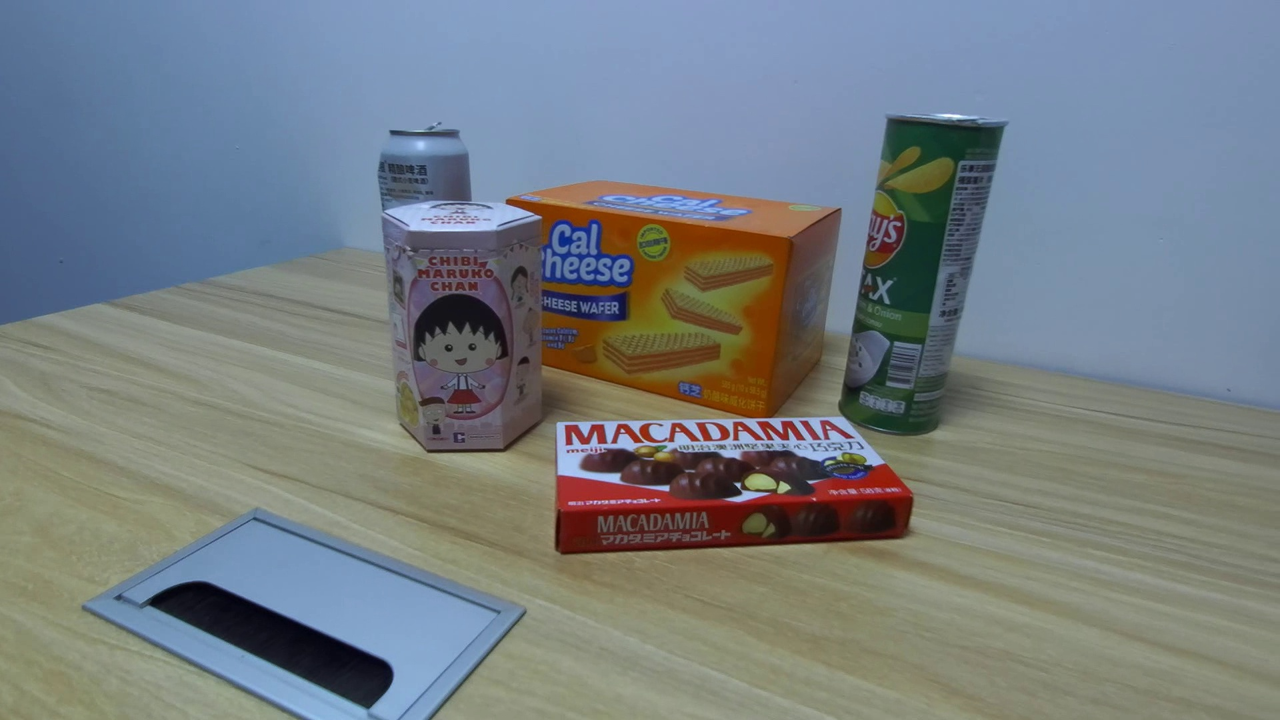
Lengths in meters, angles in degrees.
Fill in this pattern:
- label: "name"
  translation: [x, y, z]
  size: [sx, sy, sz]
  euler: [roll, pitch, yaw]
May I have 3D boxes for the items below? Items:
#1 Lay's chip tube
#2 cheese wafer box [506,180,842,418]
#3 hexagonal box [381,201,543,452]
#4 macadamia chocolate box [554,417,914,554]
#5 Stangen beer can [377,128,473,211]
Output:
- label: "Lay's chip tube"
  translation: [0.181, -0.055, 0.464]
  size: [0.071, 0.202, 0.071]
  euler: [2, 21, -1]
- label: "cheese wafer box"
  translation: [0.027, -0.059, 0.556]
  size: [0.221, 0.129, 0.148]
  euler: [13, 24, 24]
- label: "hexagonal box"
  translation: [-0.105, -0.021, 0.432]
  size: [0.091, 0.136, 0.083]
  euler: [0, 21, -7]
- label: "macadamia chocolate box"
  translation: [0.044, 0.064, 0.386]
  size: [0.178, 0.027, 0.095]
  euler: [0, 21, -7]
- label: "Stangen beer can"
  translation: [-0.174, -0.105, 0.588]
  size: [0.070, 0.173, 0.070]
  euler: [5, 17, 9]
